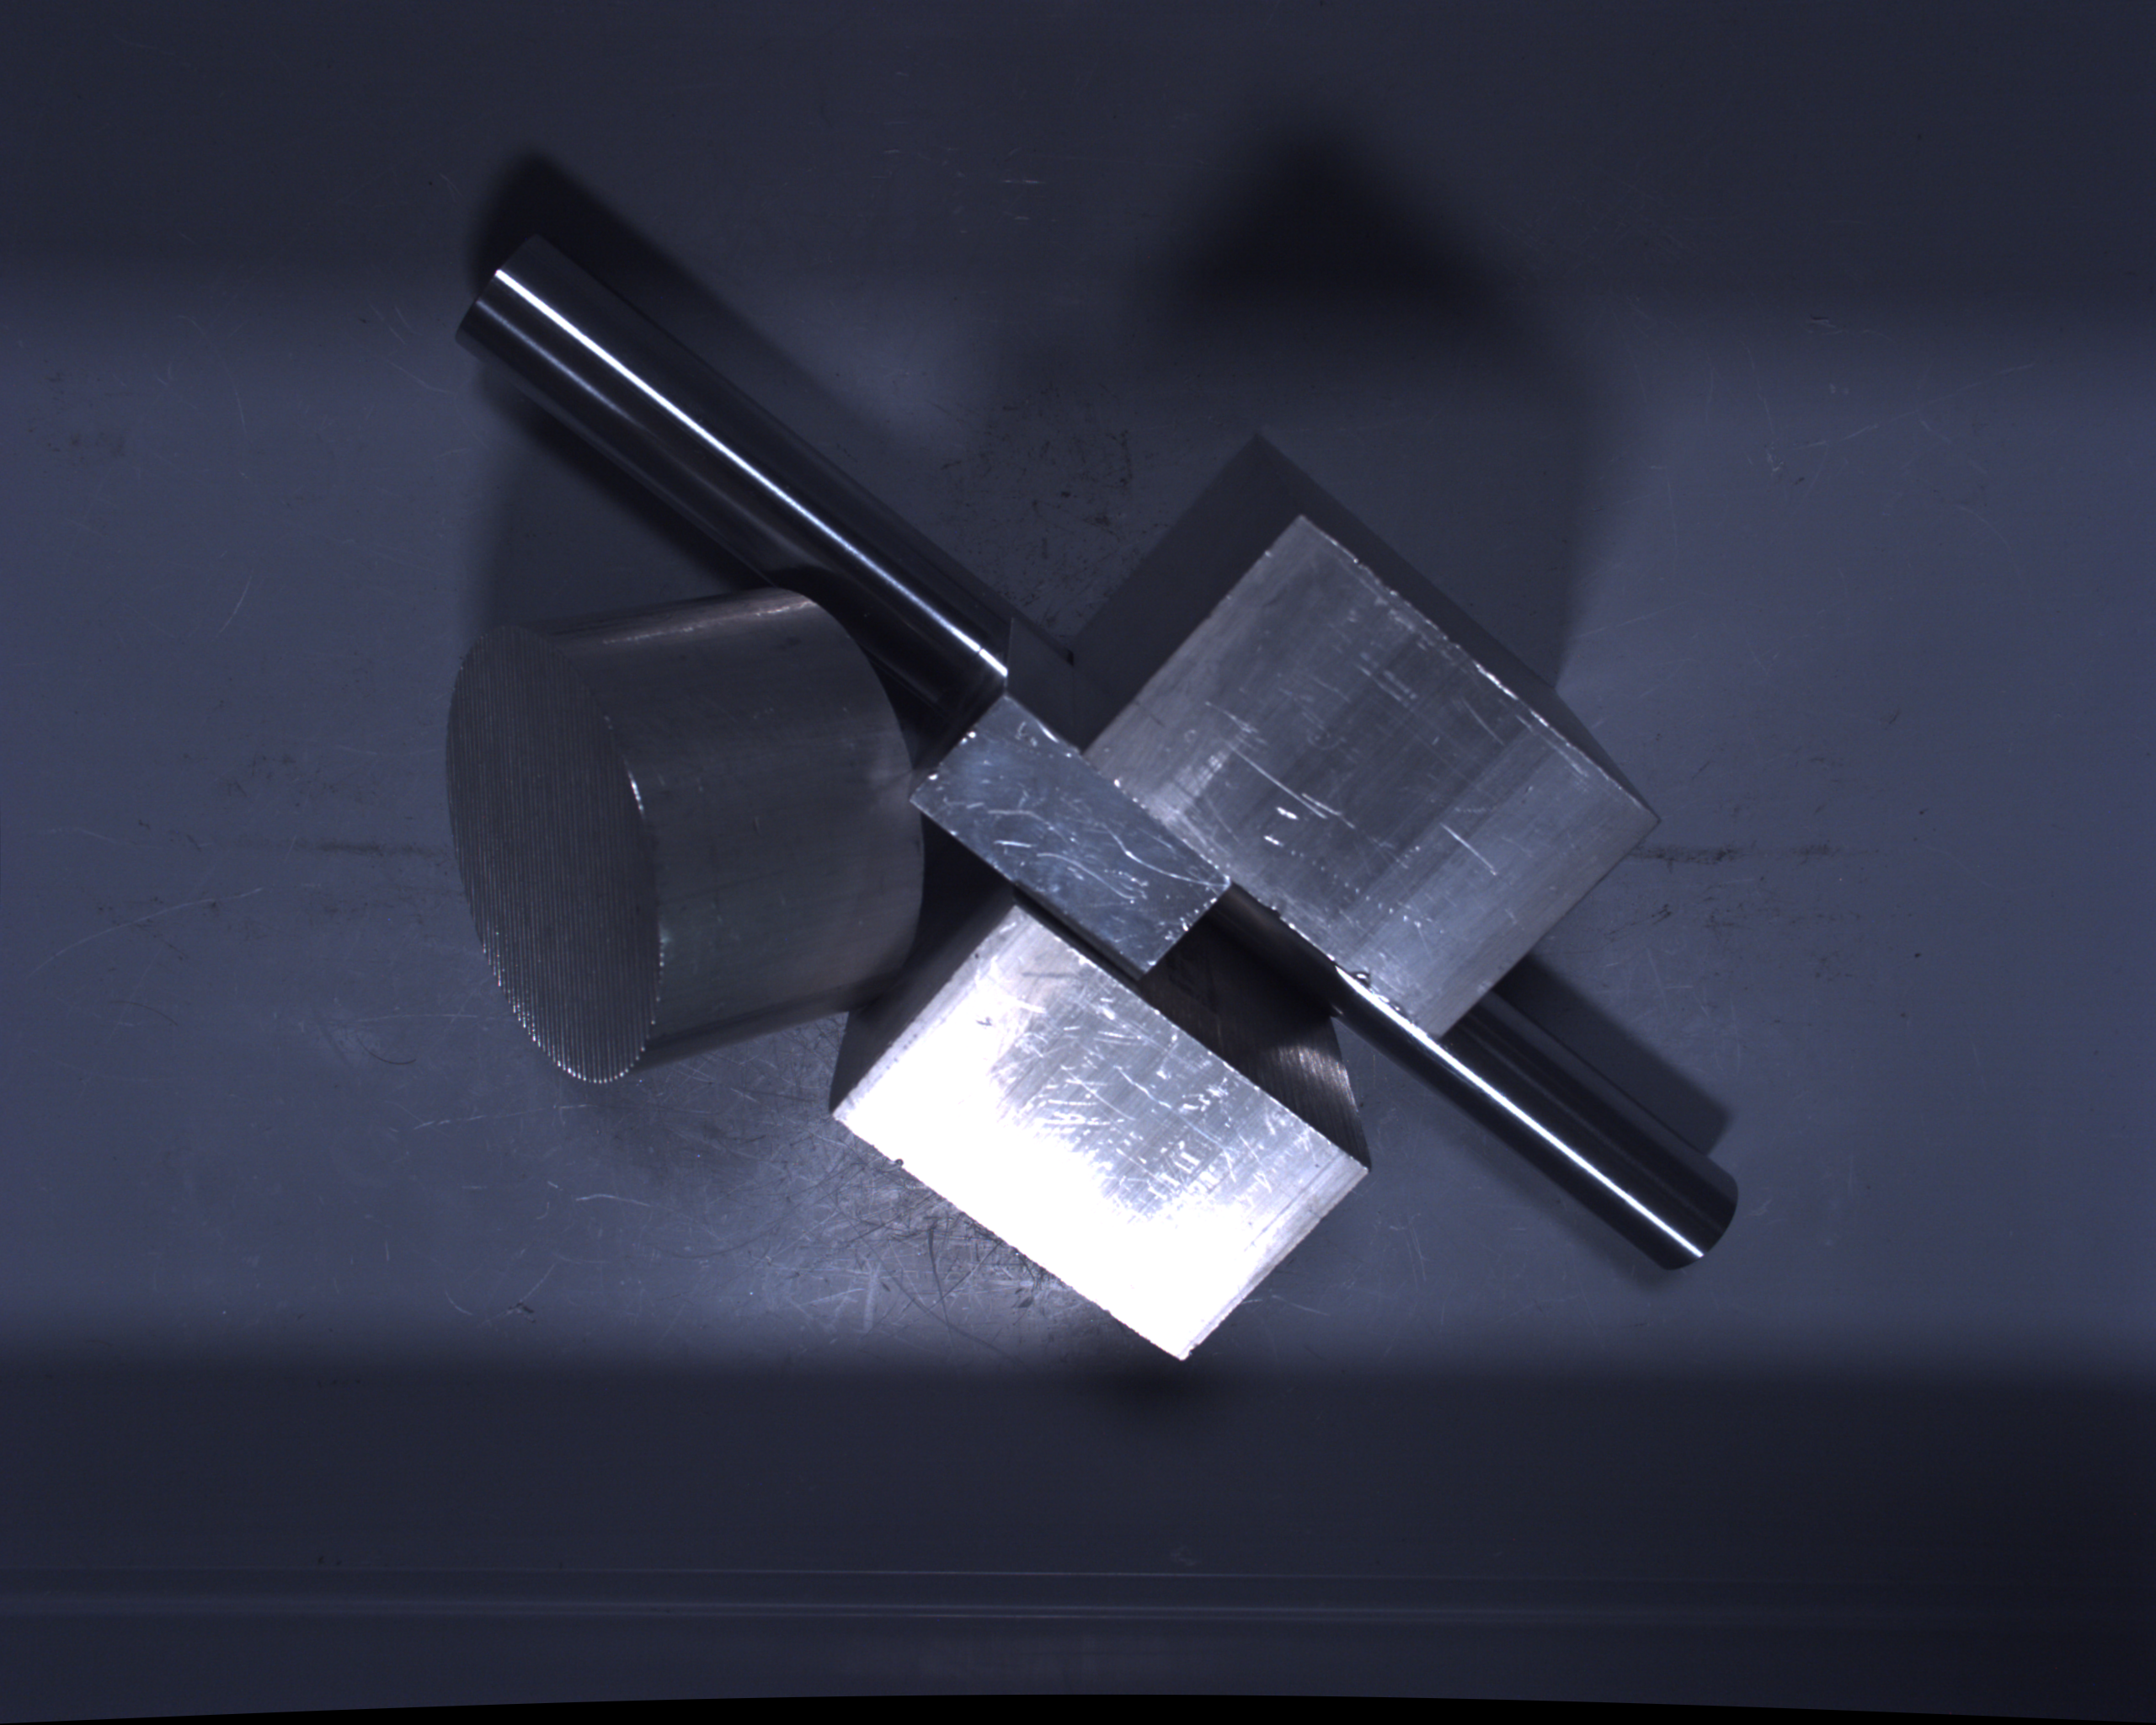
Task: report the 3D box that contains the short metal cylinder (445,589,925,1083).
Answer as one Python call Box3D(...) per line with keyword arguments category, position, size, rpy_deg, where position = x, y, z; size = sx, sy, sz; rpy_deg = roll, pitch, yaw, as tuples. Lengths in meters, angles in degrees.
Box3D(category="short metal cylinder", position=(-0.071, -0.006, 0.371), size=(0.050, 0.080, 0.079), rpy_deg=(-15, 116, -37))

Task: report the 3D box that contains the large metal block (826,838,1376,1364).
Box3D(category="large metal block", position=(0.004, 0.034, 0.394), size=(0.080, 0.080, 0.050), rpy_deg=(37, 106, -13))

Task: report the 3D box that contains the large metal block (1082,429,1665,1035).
Box3D(category="large metal block", position=(0.048, -0.027, 0.372), size=(0.080, 0.080, 0.050), rpy_deg=(38, 105, -13))

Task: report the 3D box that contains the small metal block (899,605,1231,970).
Box3D(category="small metal block", position=(-0.002, -0.015, 0.367), size=(0.050, 0.050, 0.025), rpy_deg=(39, 105, -14))

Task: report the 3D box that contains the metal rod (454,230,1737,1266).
Box3D(category="metal rod", position=(0.013, -0.014, 0.406), size=(0.301, 0.025, 0.025), rpy_deg=(37, 106, -13))
